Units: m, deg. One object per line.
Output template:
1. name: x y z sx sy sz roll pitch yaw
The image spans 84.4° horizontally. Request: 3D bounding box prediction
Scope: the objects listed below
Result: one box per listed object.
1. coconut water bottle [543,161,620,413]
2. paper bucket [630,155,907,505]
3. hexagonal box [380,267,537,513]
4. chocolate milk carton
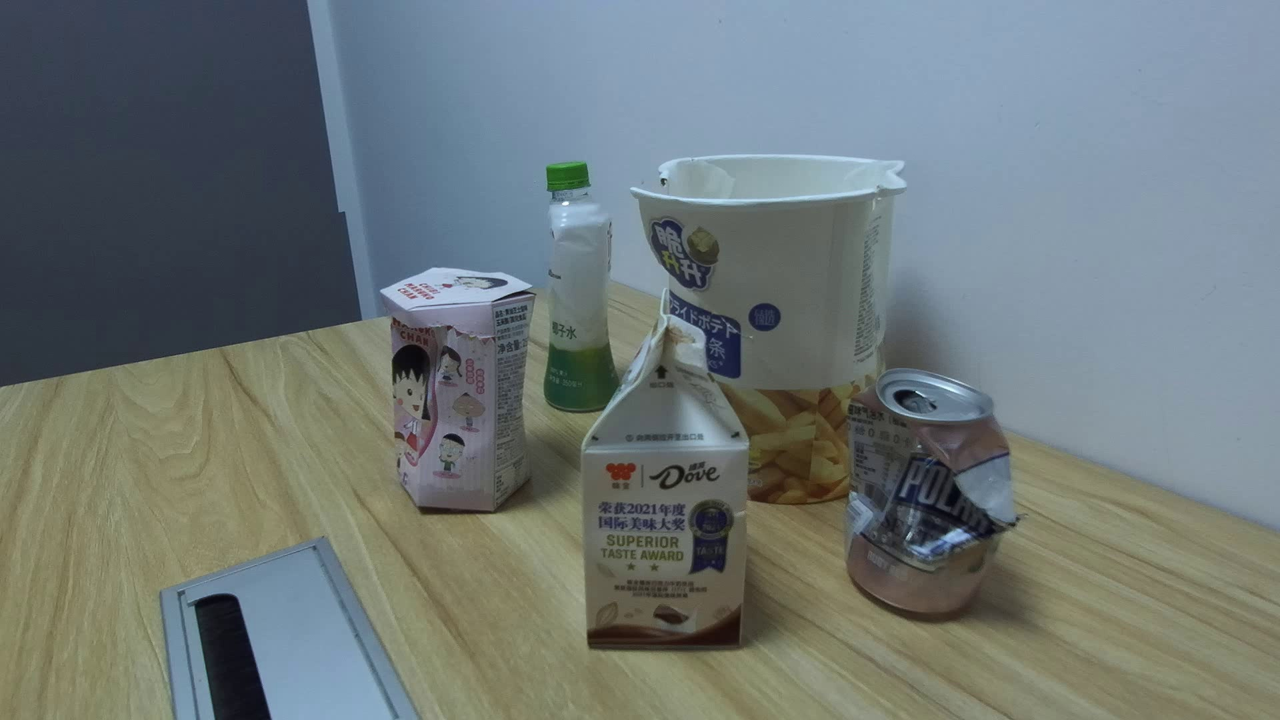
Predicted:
1. coconut water bottle: -0.048 -0.056 0.549 0.069 0.187 0.069 -1 17 1
2. paper bucket: 0.090 -0.027 0.460 0.145 0.197 0.203 3 22 13
3. hexagonal box: -0.111 0.017 0.448 0.090 0.134 0.091 4 21 2
4. chocolate milk carton: 0.013 0.055 0.344 0.073 0.155 0.084 0 14 1
